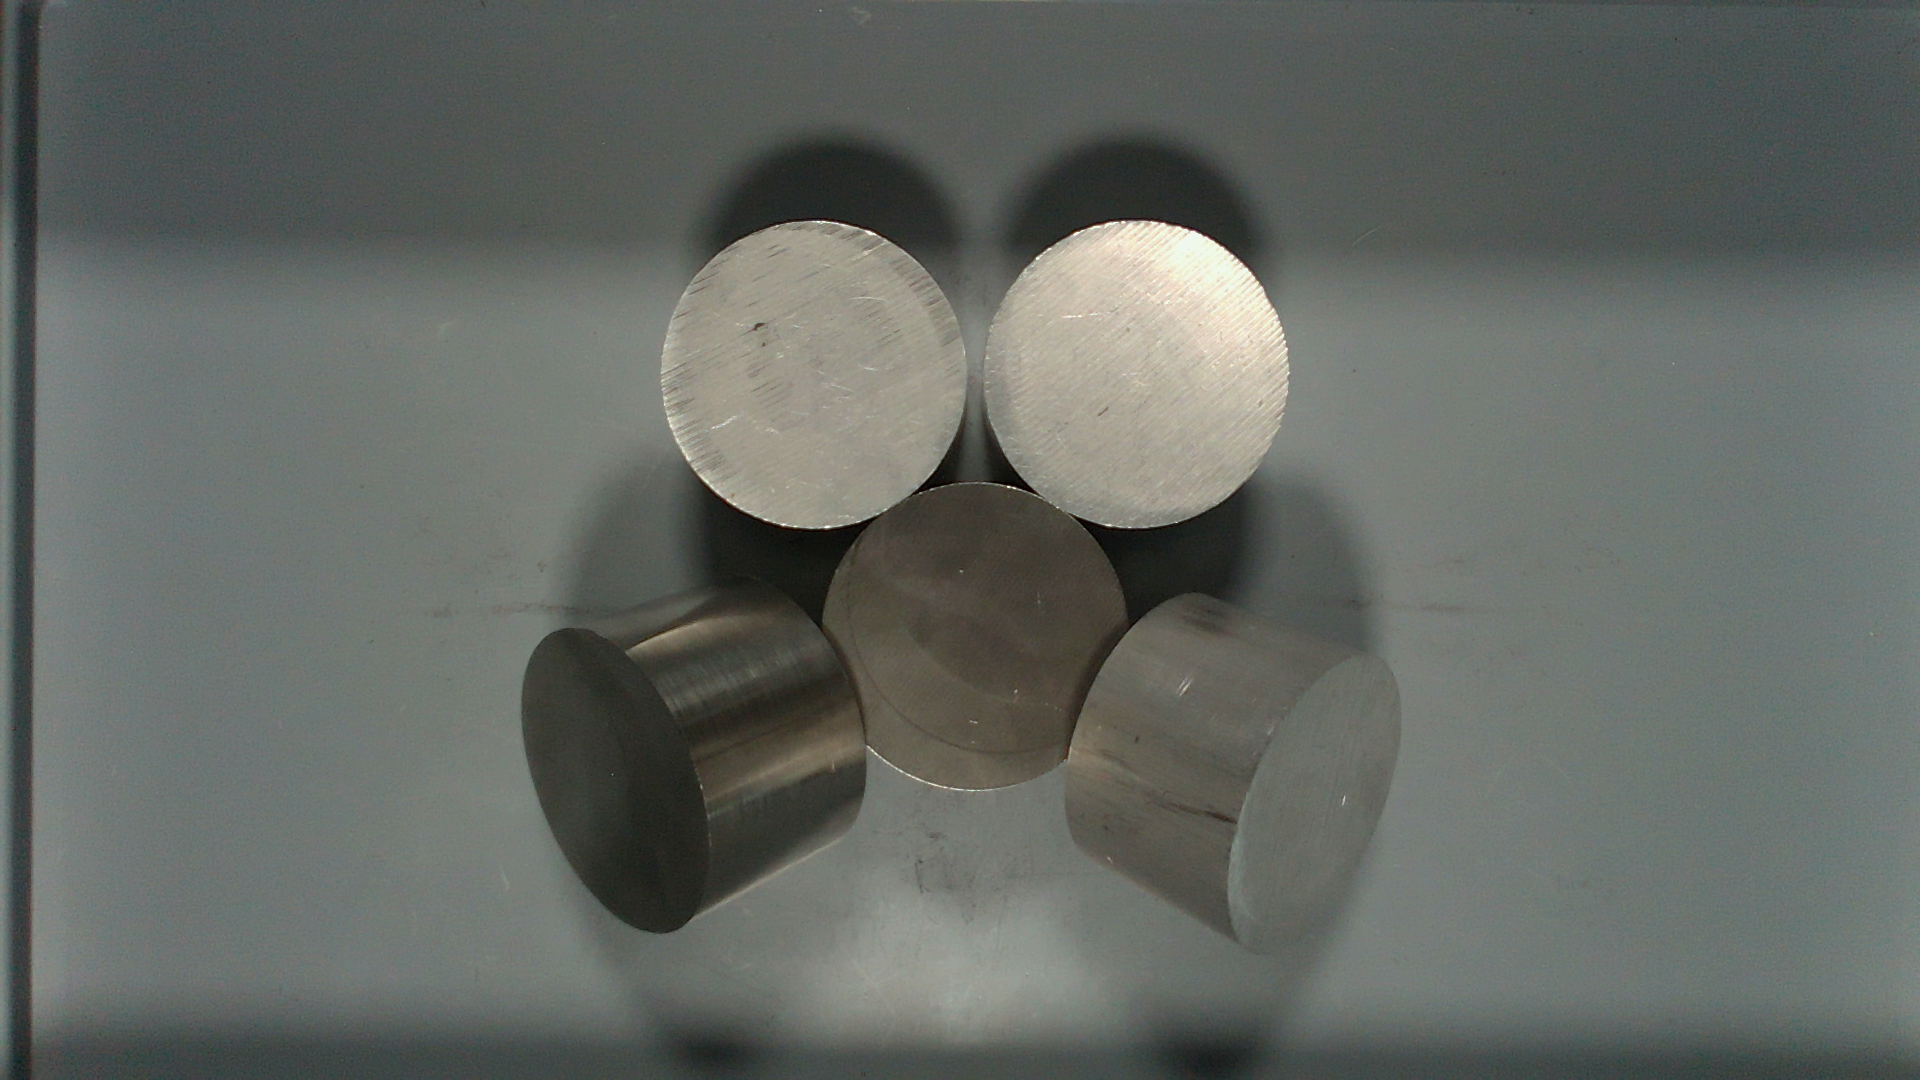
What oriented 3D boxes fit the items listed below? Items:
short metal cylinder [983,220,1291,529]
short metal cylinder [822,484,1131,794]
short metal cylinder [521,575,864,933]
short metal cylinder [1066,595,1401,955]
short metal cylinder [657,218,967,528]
[{"bbox_3d":[0.046,-0.043,0.382,0.080,0.050,0.080,0,90,0],"label":"short metal cylinder"},{"bbox_3d":[0.004,0.025,0.380,0.080,0.050,0.080,0,90,0],"label":"short metal cylinder"},{"bbox_3d":[-0.071,0.055,0.361,0.050,0.080,0.080,-20,90,-44],"label":"short metal cylinder"},{"bbox_3d":[0.073,0.060,0.361,0.050,0.080,0.080,21,90,39],"label":"short metal cylinder"},{"bbox_3d":[-0.038,-0.043,0.380,0.080,0.050,0.080,0,90,0],"label":"short metal cylinder"}]
